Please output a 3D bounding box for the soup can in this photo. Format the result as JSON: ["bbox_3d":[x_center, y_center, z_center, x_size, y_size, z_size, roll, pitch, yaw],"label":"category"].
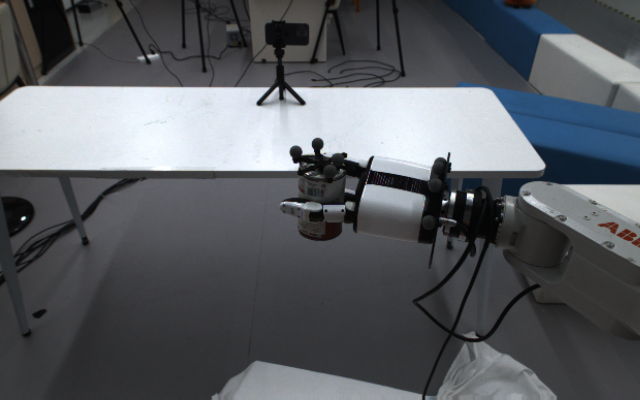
[{"bbox_3d":[0.002,-0.002,0.687,0.067,0.101,0.067,2,32,-1],"label":"soup can"}]
